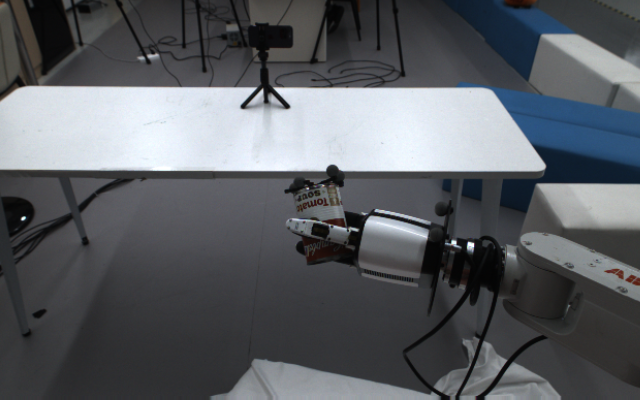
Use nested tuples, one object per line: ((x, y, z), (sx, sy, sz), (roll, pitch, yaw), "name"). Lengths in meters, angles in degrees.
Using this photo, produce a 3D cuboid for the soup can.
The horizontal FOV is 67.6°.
((0.006, 0.035, 0.680), (0.067, 0.067, 0.101), (-10, 79, -17), "soup can")
